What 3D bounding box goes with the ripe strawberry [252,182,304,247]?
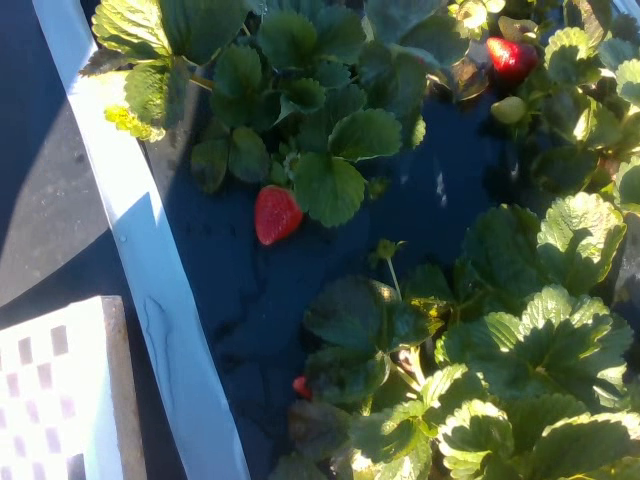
[{"bbox_3d":[-0.036,-0.019,0.506,0.045,0.059,0.042,14,-14,34],"label":"ripe strawberry"}]
